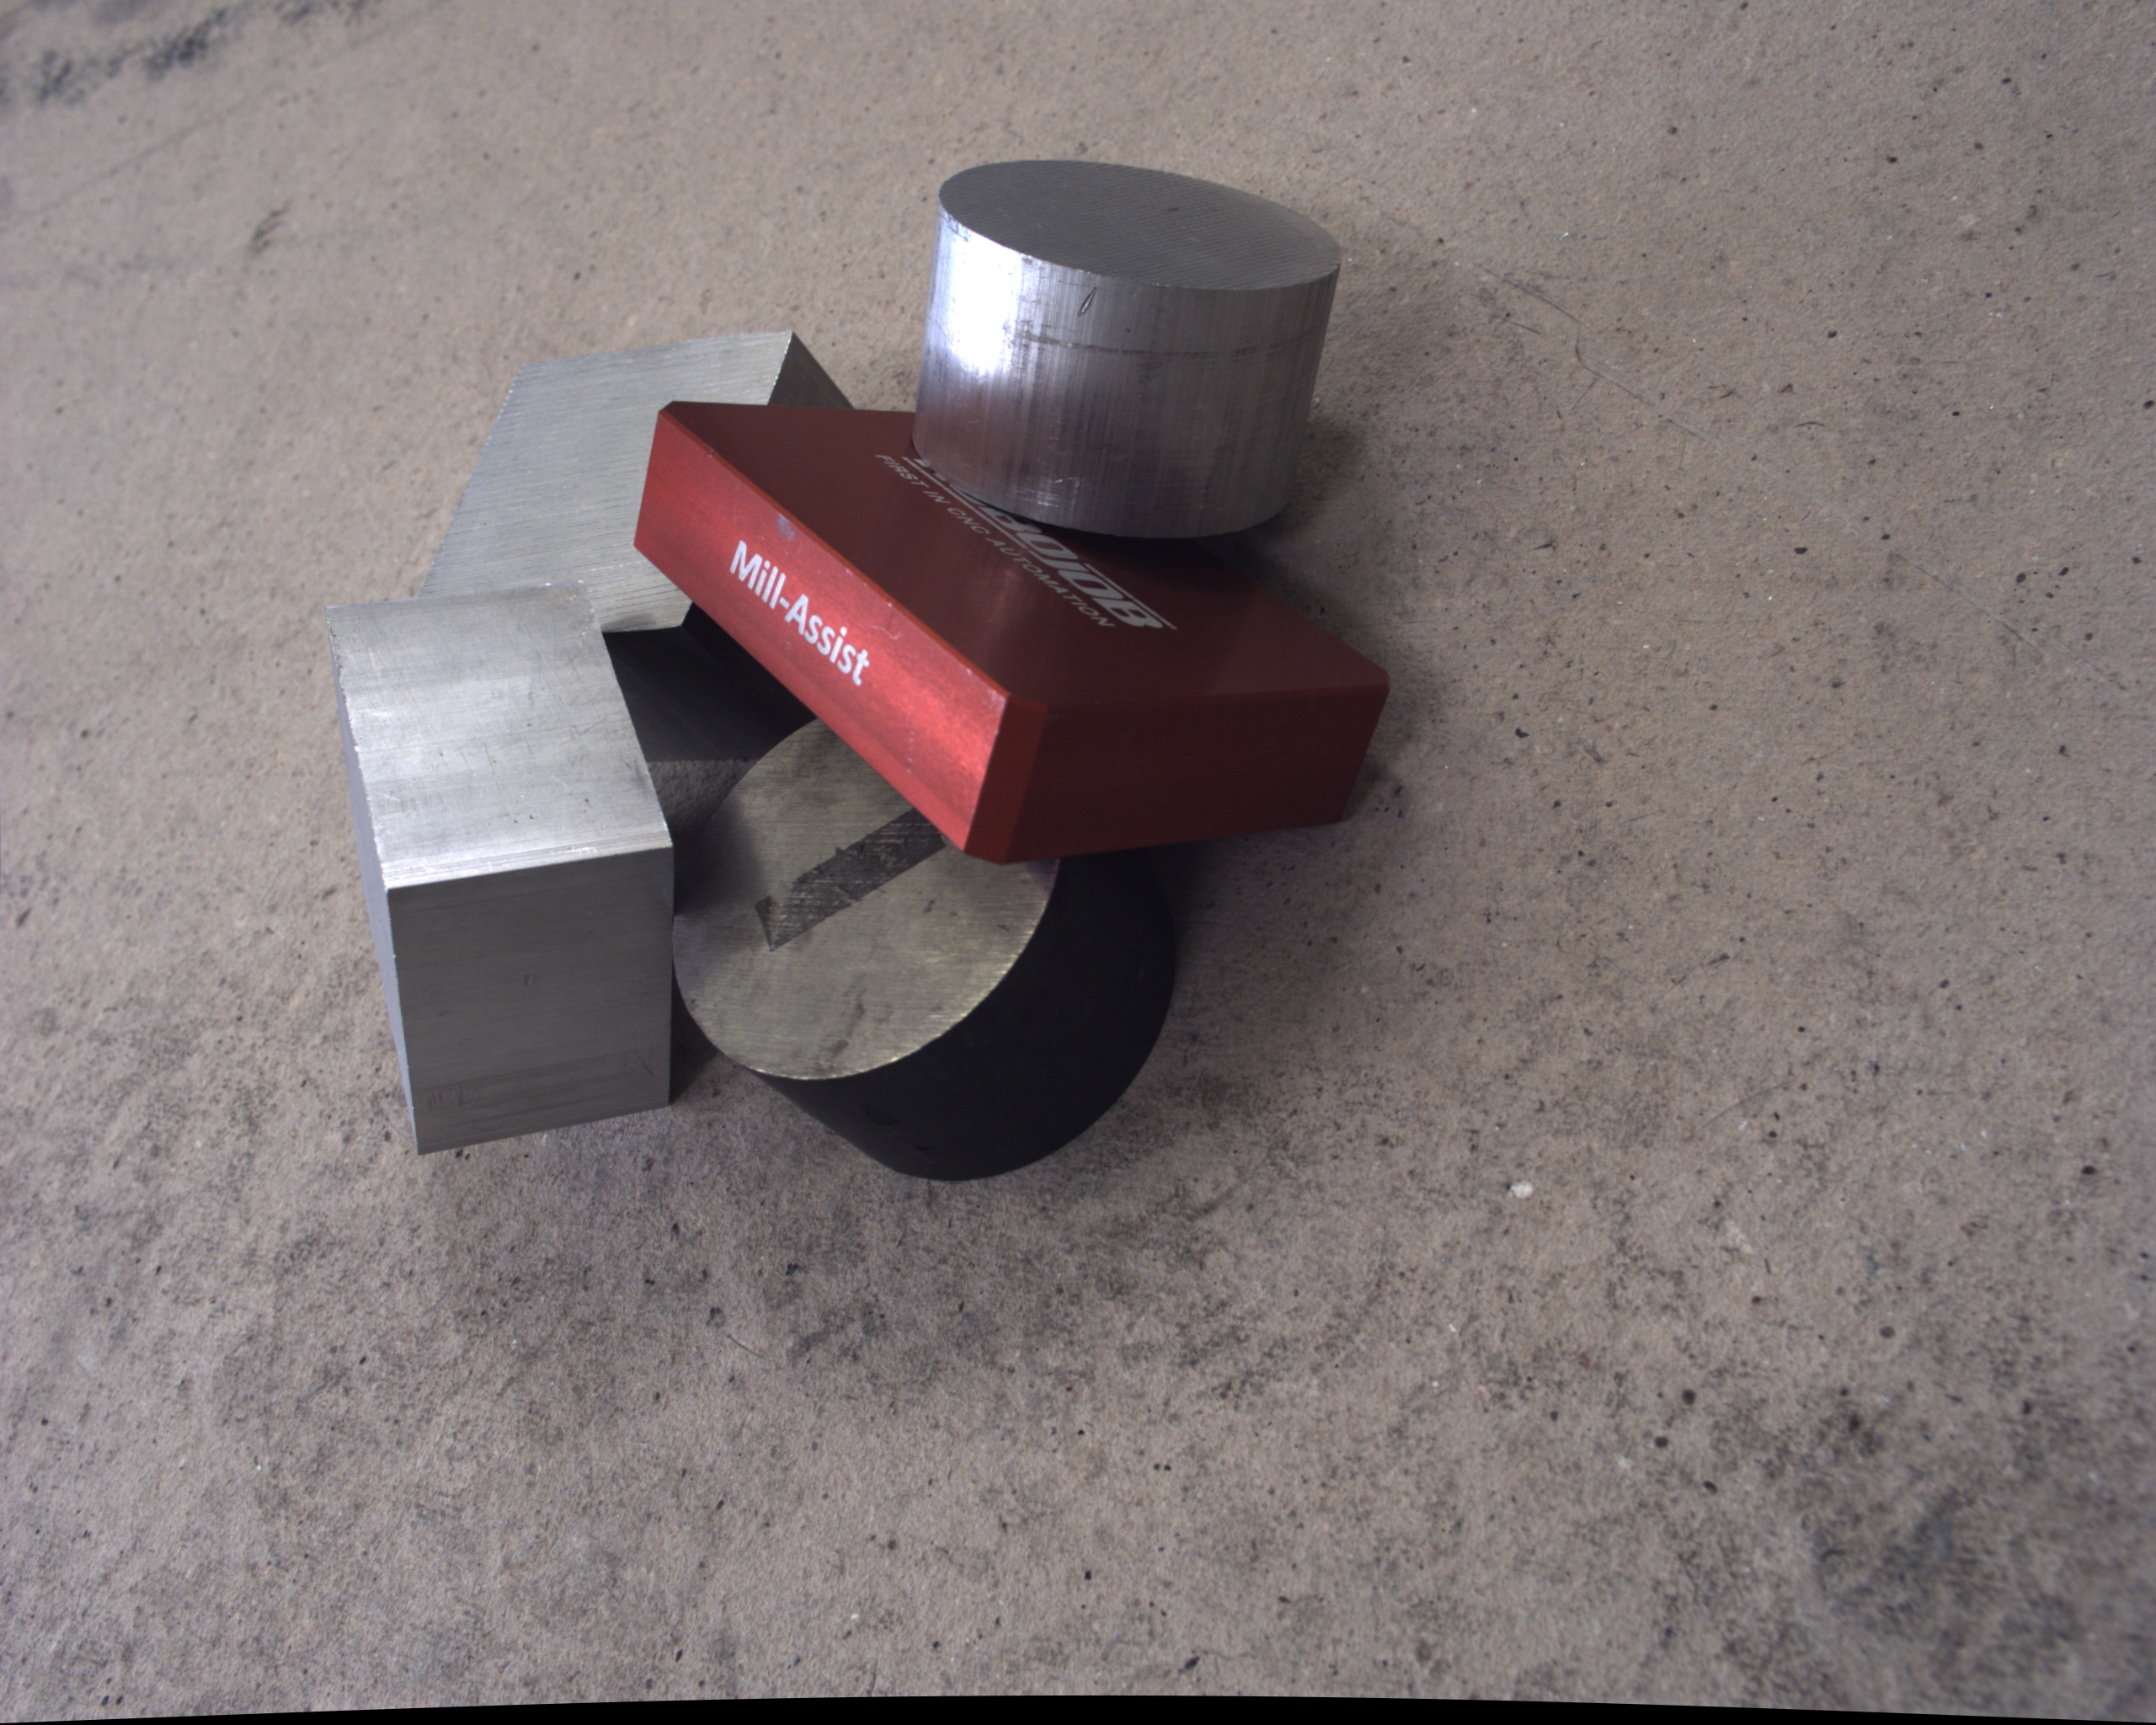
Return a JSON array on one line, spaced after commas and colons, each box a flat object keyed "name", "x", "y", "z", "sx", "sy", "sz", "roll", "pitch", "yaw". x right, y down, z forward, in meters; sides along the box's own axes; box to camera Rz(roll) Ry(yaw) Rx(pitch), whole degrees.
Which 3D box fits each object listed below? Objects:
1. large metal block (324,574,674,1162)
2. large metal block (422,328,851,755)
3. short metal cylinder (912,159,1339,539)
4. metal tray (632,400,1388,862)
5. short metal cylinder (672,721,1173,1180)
[{"name": "large metal block", "x": -0.117, "y": 0.000, "z": 0.422, "sx": 0.050, "sy": 0.079, "sz": 0.080, "roll": -10, "pitch": 49, "yaw": -21}, {"name": "large metal block", "x": -0.097, "y": -0.072, "z": 0.481, "sx": 0.080, "sy": 0.050, "sz": 0.080, "roll": 1, "pitch": 62, "yaw": 28}, {"name": "short metal cylinder", "x": 0.008, "y": -0.106, "z": 0.425, "sx": 0.081, "sy": 0.050, "sz": 0.080, "roll": 7, "pitch": 33, "yaw": -4}, {"name": "metal tray", "x": -0.016, "y": -0.049, "z": 0.404, "sx": 0.130, "sy": 0.091, "sz": 0.030, "roll": 41, "pitch": 125, "yaw": 39}, {"name": "short metal cylinder", "x": -0.029, "y": 0.014, "z": 0.397, "sx": 0.080, "sy": 0.050, "sz": 0.080, "roll": -13, "pitch": 56, "yaw": 21}]
